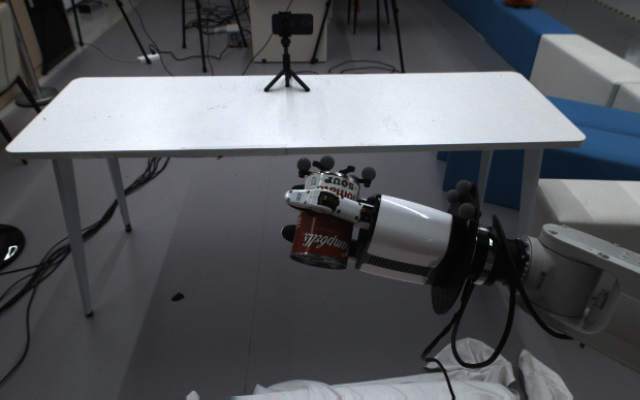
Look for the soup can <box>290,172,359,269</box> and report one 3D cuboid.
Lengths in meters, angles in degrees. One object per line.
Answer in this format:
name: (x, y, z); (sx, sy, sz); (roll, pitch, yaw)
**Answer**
soup can: (0.009, 0.025, 0.567); (0.067, 0.067, 0.101); (8, 72, 9)
